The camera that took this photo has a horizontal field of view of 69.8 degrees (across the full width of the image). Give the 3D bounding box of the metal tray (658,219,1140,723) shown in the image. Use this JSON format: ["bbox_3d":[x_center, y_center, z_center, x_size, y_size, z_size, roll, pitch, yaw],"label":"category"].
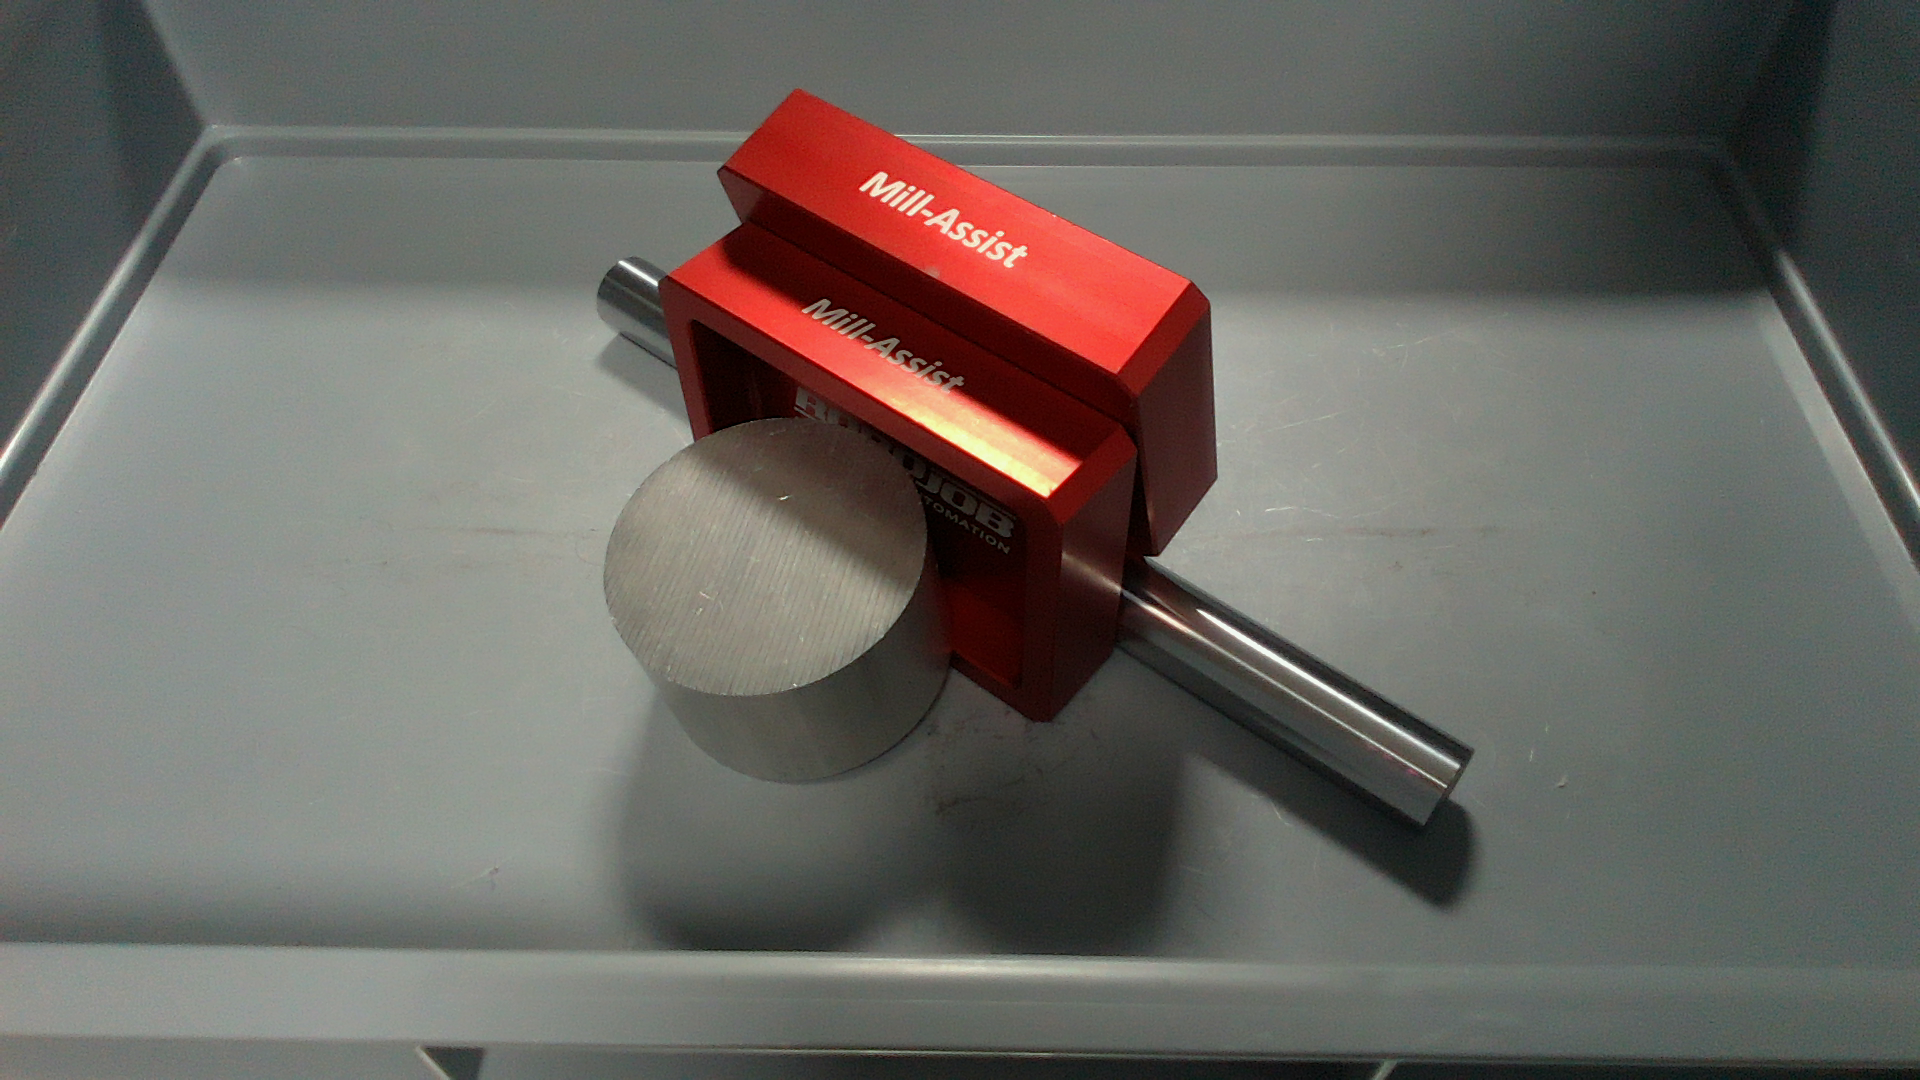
[{"bbox_3d":[-0.018,-0.018,0.363,0.130,0.090,0.030,32,57,24],"label":"metal tray"}]

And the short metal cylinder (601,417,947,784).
[{"bbox_3d":[-0.045,0.015,0.353,0.080,0.050,0.080,-3,57,5],"label":"short metal cylinder"}]

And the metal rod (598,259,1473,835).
[{"bbox_3d":[0.004,-0.010,0.400,0.299,0.025,0.025,32,57,24],"label":"metal rod"}]

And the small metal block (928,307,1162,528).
[{"bbox_3d":[0.026,-0.039,0.423,0.050,0.025,0.050,33,57,25],"label":"small metal block"}]

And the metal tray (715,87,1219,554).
[{"bbox_3d":[0.004,-0.056,0.362,0.130,0.090,0.030,32,74,24],"label":"metal tray"}]
